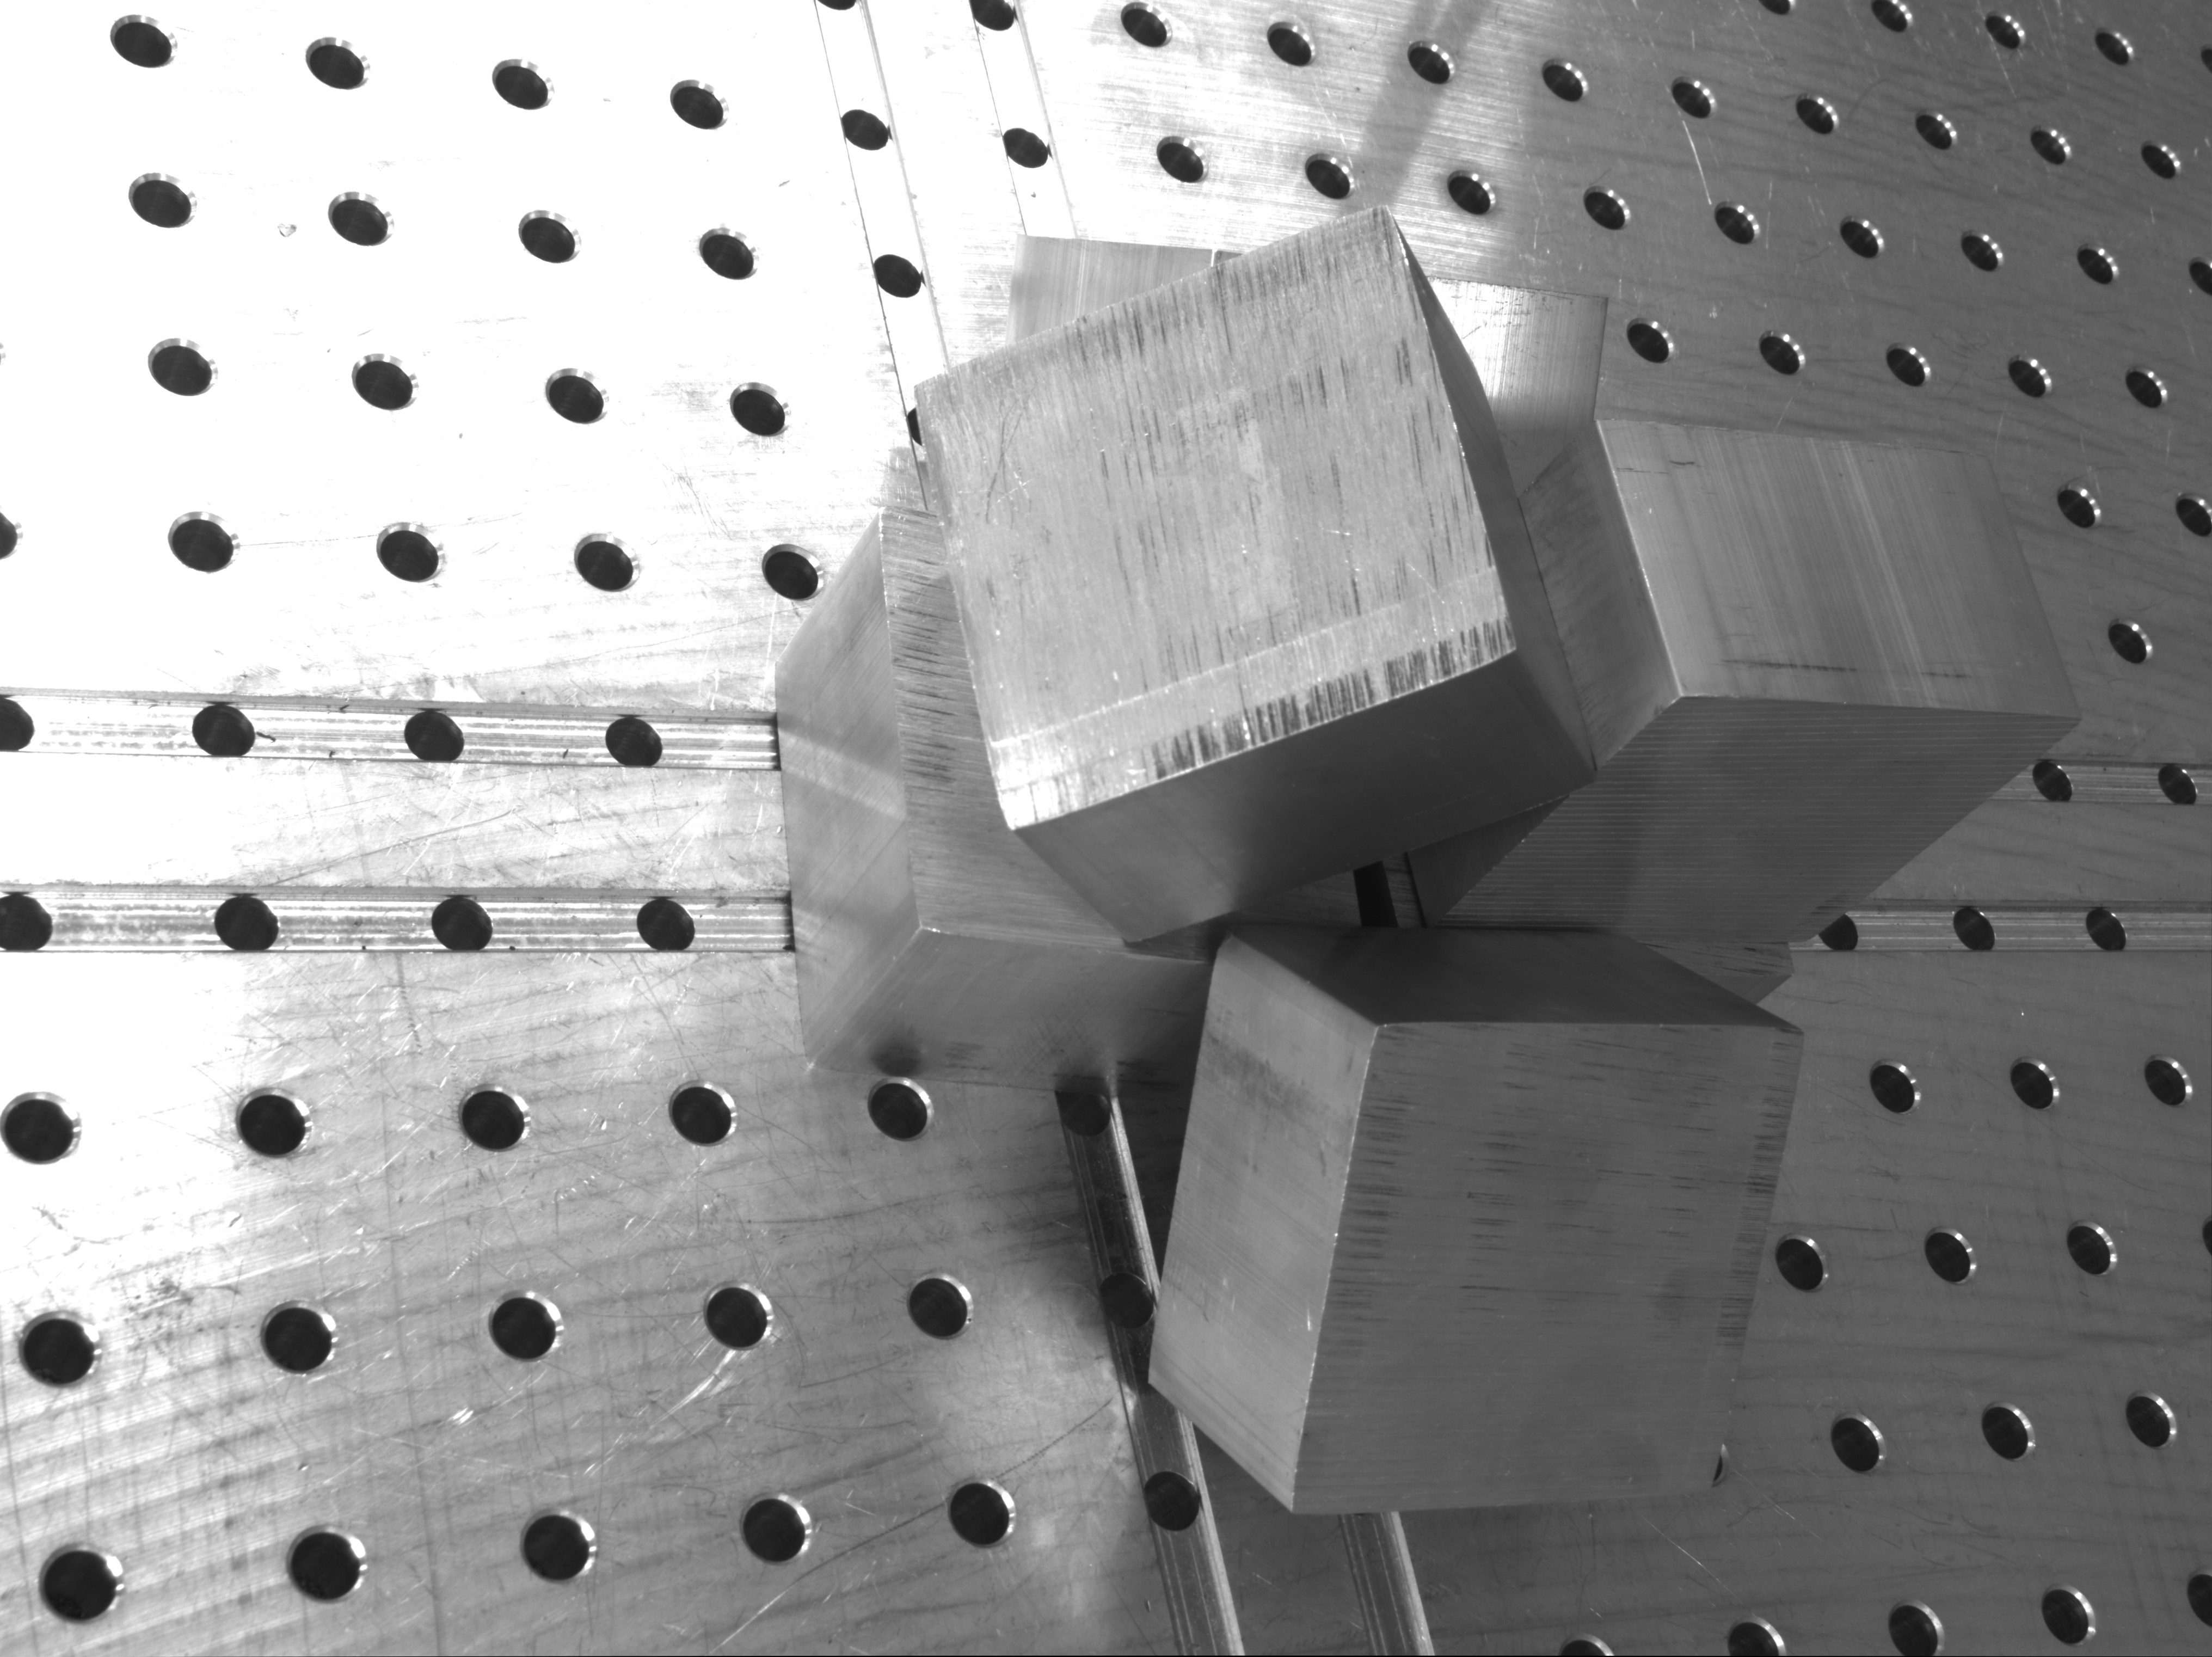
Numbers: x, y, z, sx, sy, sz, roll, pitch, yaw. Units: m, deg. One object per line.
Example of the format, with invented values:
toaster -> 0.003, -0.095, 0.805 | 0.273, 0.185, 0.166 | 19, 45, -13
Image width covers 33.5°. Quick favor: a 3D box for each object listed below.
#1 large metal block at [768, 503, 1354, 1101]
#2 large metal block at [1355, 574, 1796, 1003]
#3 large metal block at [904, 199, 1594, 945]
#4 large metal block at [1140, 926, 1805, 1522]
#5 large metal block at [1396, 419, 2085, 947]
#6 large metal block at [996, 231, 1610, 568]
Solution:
large metal block -> -0.008, -0.003, 0.624 | 0.080, 0.050, 0.080 | 7, 59, -25
large metal block -> 0.068, 0.001, 0.661 | 0.080, 0.050, 0.080 | 3, 60, -27
large metal block -> 0.022, -0.038, 0.567 | 0.080, 0.050, 0.080 | -19, 64, 13
large metal block -> 0.058, 0.062, 0.593 | 0.080, 0.050, 0.080 | 2, 105, -27
large metal block -> 0.099, -0.021, 0.609 | 0.080, 0.080, 0.050 | 2, 61, -27
large metal block -> 0.032, -0.077, 0.662 | 0.080, 0.080, 0.050 | 2, 99, -27
